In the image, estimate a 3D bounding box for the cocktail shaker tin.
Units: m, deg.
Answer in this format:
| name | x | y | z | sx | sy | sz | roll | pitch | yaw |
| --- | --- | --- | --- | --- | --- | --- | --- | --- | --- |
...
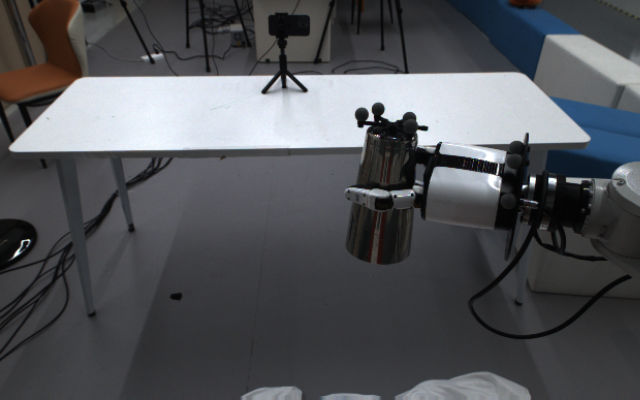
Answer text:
| name | x | y | z | sx | sy | sz | roll | pitch | yaw |
| --- | --- | --- | --- | --- | --- | --- | --- | --- | --- |
| cocktail shaker tin | 0.088 | -0.011 | 0.650 | 0.093 | 0.170 | 0.093 | 3 | 26 | -1 |
